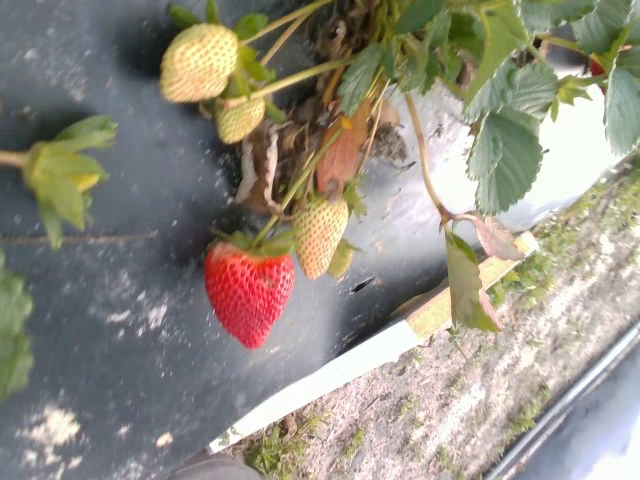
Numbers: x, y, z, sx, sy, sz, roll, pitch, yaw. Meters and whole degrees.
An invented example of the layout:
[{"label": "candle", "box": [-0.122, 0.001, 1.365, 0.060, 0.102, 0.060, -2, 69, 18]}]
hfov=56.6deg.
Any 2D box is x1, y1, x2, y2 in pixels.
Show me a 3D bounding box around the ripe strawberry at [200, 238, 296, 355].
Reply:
[{"label": "ripe strawberry", "box": [-0.032, 0.026, 0.275, 0.050, 0.059, 0.033, -21, 28, -39]}]
